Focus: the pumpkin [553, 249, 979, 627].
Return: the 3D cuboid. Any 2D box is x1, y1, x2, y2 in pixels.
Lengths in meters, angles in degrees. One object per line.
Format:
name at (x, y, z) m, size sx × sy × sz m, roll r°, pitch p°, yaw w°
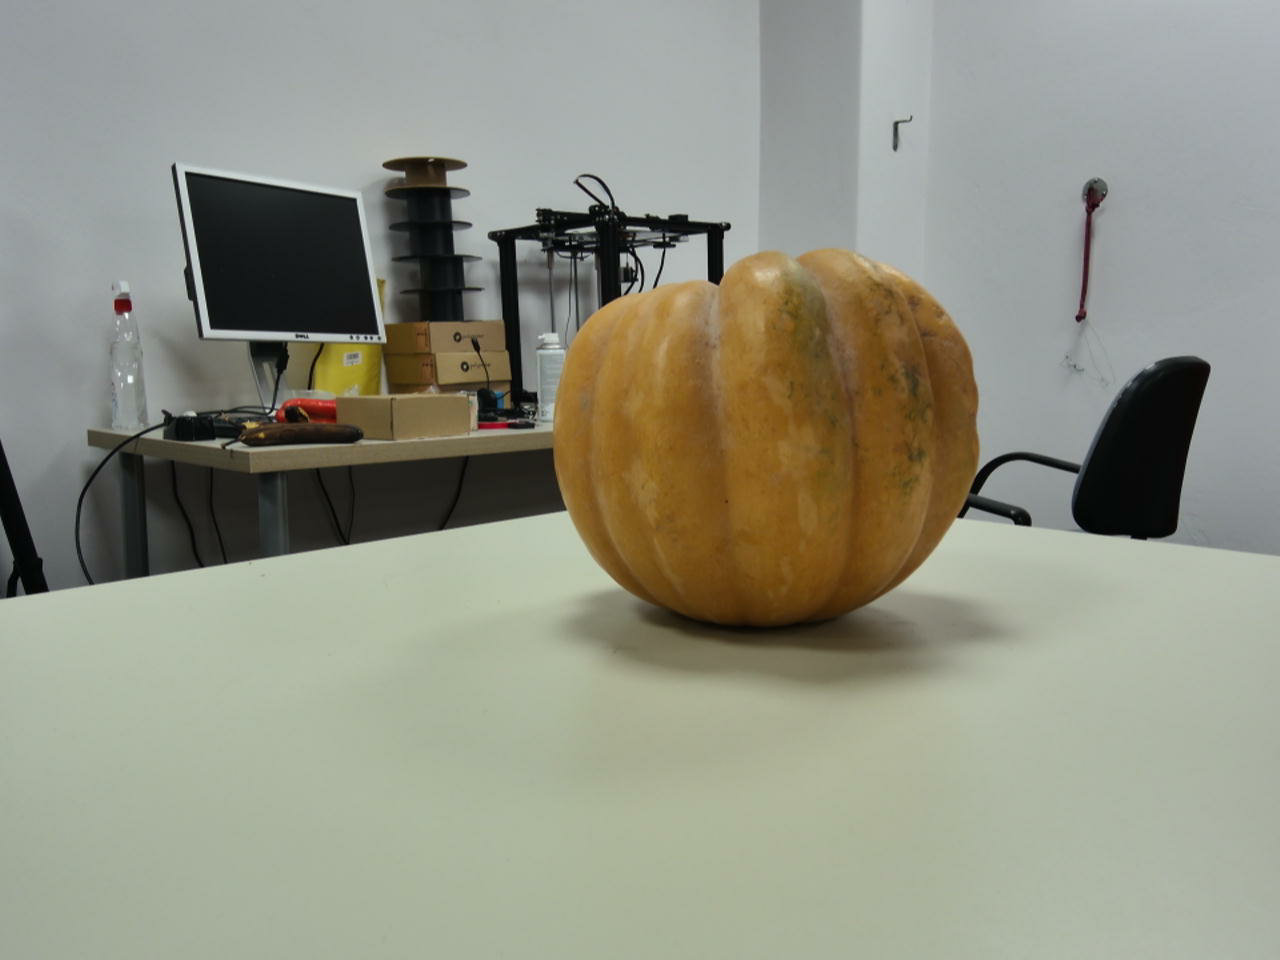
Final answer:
pumpkin at (0.066, -0.020, 0.548) m, size 0.230 × 0.194 × 0.230 m, roll 1°, pitch 5°, yaw 0°
